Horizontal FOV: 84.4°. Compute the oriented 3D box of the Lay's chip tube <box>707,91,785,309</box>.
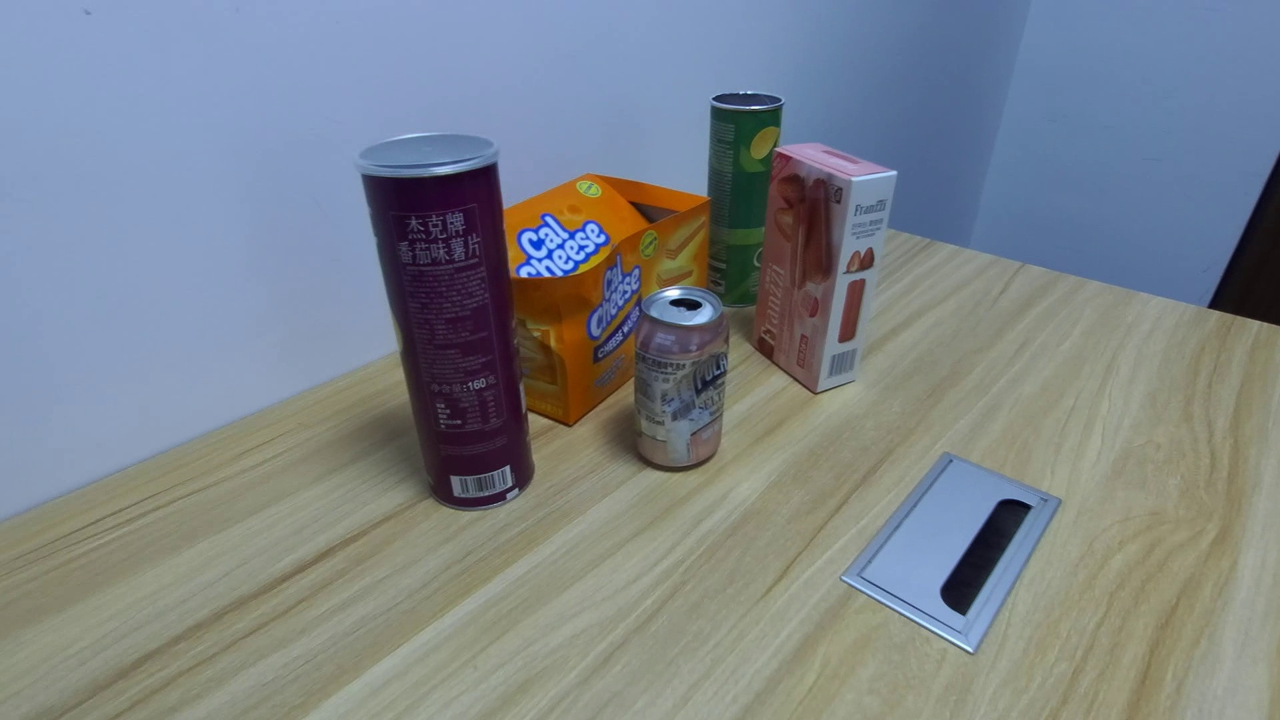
[{"bbox_3d":[0.101,-0.156,0.705,0.071,0.203,0.071,0,30,0],"label":"Lay's chip tube"}]

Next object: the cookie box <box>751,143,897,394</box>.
[{"bbox_3d":[0.148,-0.077,0.592,0.048,0.185,0.095,-15,34,-25],"label":"cookie box"}]

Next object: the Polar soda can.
[{"bbox_3d":[0.031,0.015,0.508,0.074,0.122,0.067,-9,31,-10],"label":"Polar soda can"}]

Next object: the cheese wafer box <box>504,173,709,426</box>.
[{"bbox_3d":[-0.052,-0.063,0.632,0.151,0.132,0.231,20,37,29],"label":"cheese wafer box"}]

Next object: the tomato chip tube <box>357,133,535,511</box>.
[{"bbox_3d":[-0.116,-0.016,0.453,0.078,0.234,0.078,0,31,1],"label":"tomato chip tube"}]
